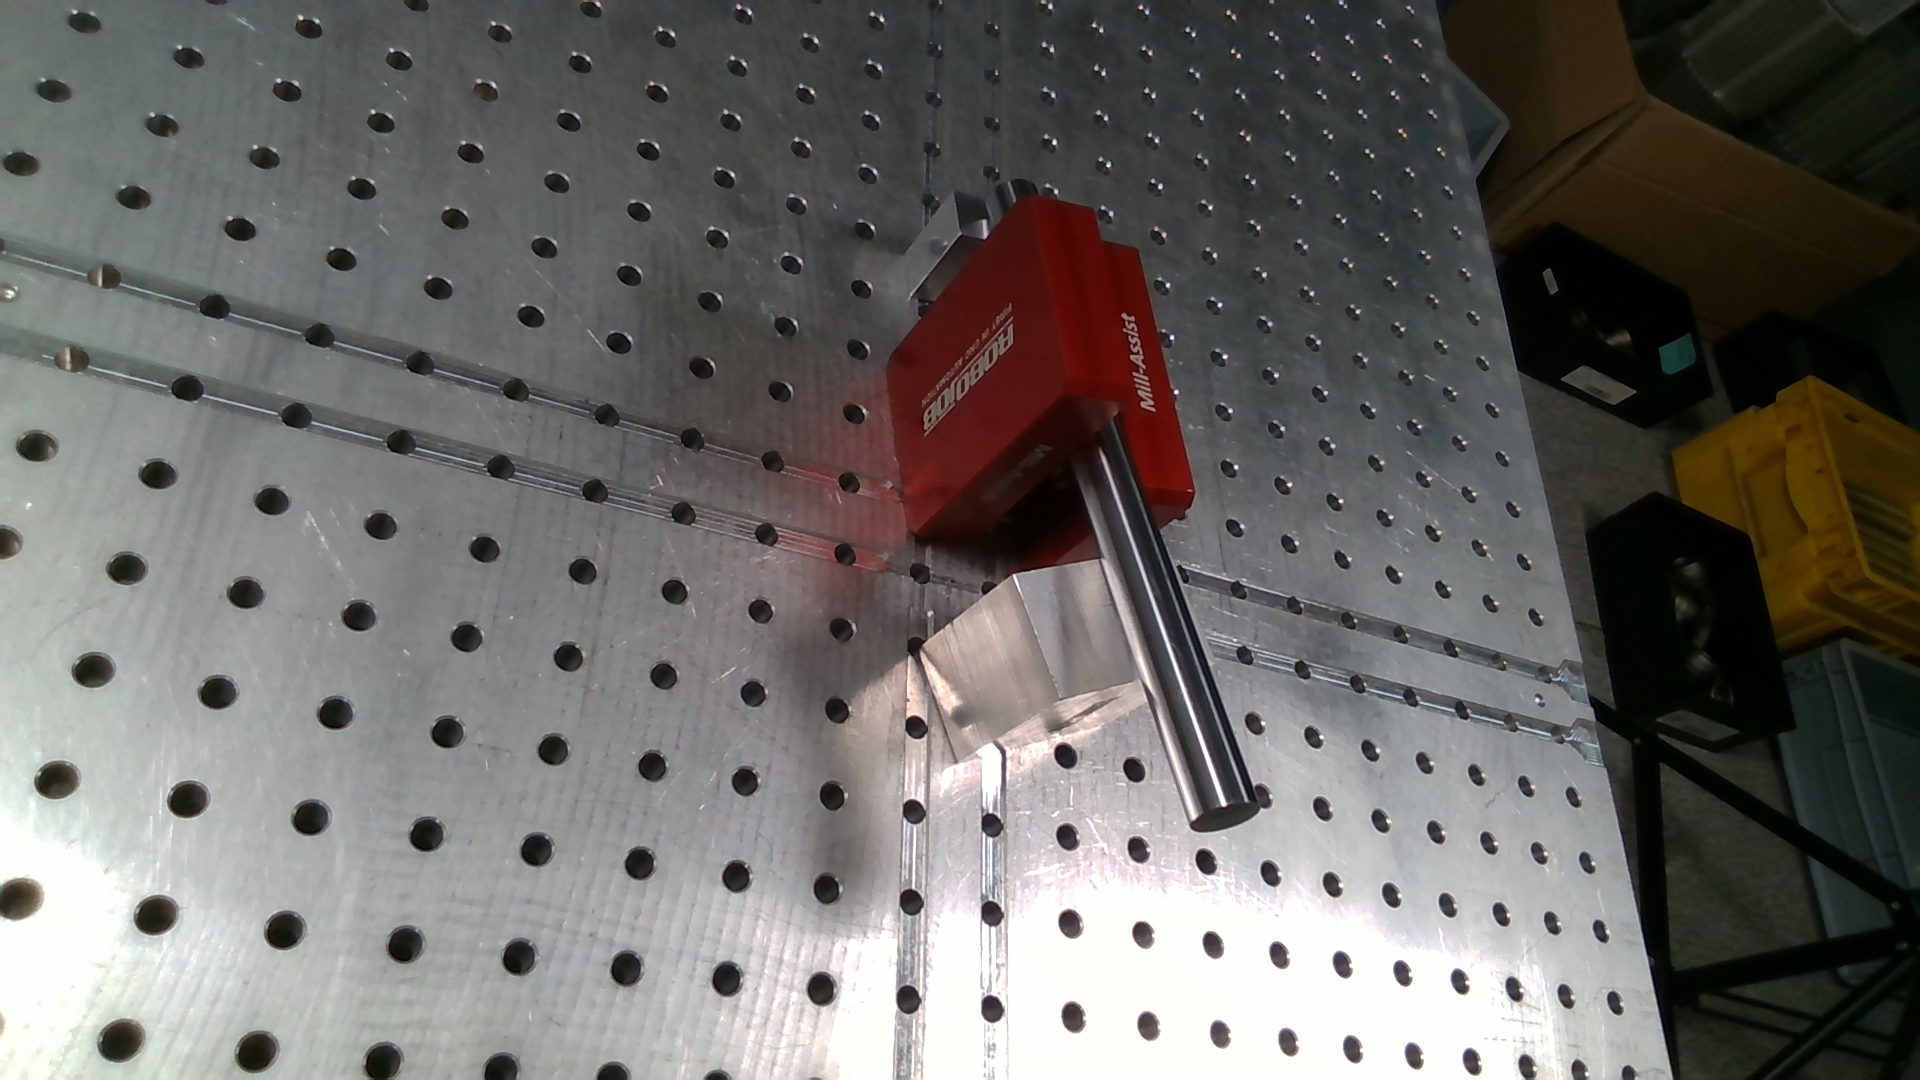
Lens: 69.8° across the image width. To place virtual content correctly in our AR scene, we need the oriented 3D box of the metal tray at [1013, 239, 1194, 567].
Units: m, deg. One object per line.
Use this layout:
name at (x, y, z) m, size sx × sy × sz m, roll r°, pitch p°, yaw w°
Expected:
metal tray at (0.053, -0.057, 0.609) m, size 0.030 × 0.090 × 0.130 m, roll 5°, pitch 63°, yaw -28°

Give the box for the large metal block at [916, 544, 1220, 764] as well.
large metal block at (0.042, 0.046, 0.553) m, size 0.080 × 0.080 × 0.050 m, roll -9°, pitch 70°, yaw -35°

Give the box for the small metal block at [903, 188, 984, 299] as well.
small metal block at (0.008, -0.135, 0.650) m, size 0.050 × 0.050 × 0.025 m, roll 6°, pitch 62°, yaw -29°

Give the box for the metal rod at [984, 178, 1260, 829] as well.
metal rod at (0.056, -0.030, 0.542) m, size 0.025 × 0.025 × 0.299 m, roll 5°, pitch 53°, yaw -29°

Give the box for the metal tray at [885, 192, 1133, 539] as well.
metal tray at (0.015, -0.067, 0.567) m, size 0.030 × 0.130 × 0.090 m, roll 4°, pitch 63°, yaw -29°
